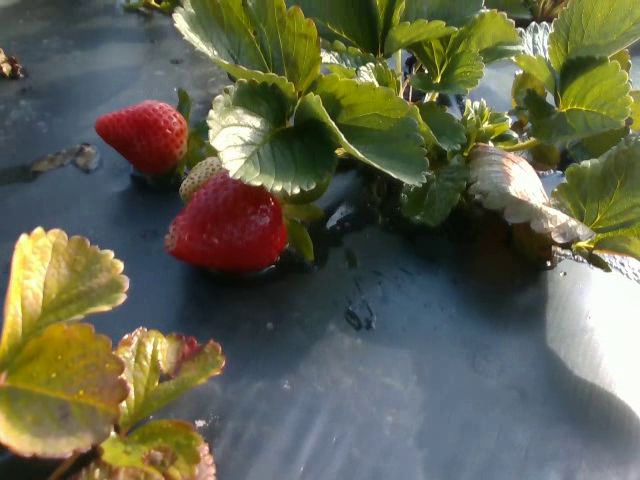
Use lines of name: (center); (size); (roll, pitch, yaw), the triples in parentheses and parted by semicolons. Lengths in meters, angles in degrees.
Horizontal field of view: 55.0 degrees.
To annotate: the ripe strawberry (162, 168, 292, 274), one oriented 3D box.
ripe strawberry: (-0.047, -0.008, 0.275); (0.064, 0.050, 0.048); (-37, 10, -31)
